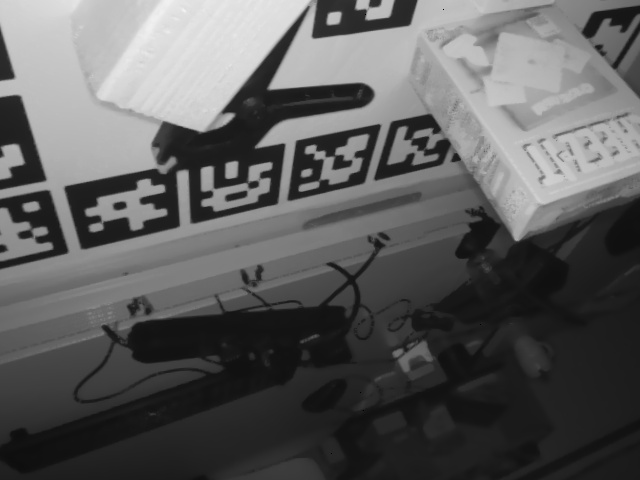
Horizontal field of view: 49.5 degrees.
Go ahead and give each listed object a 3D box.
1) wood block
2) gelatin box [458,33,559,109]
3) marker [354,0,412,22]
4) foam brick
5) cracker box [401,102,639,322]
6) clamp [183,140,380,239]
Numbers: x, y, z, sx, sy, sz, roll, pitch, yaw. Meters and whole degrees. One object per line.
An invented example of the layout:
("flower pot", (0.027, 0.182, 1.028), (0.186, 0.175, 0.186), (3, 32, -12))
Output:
("wood block", (-0.059, -0.116, 0.563), (0.203, 0.091, 0.091), (-42, 148, 28))
("gelatin box", (0.194, -0.178, 0.716), (0.090, 0.030, 0.072), (-15, 145, -19))
("marker", (0.087, -0.216, 0.584), (0.121, 0.019, 0.019), (-25, 147, -4))
("foam brick", (0.171, -0.207, 0.631), (0.078, 0.051, 0.053), (-28, 147, 1))
("cracker box", (0.206, -0.039, 0.737), (0.166, 0.214, 0.071), (-15, 148, -16))
("clamp", (-0.051, -0.052, 0.704), (0.202, 0.036, 0.166), (-31, 148, 6))
